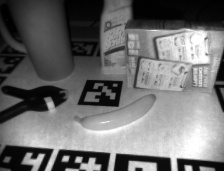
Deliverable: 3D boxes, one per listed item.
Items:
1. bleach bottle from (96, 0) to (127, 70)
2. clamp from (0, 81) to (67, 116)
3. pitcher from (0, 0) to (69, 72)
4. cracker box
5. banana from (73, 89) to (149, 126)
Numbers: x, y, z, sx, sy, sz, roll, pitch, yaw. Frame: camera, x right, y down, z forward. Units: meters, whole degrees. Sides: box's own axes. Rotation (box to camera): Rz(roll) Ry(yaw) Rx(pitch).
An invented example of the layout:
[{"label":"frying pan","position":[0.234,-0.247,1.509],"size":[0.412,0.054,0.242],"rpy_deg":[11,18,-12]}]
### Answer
[{"label":"bleach bottle","position":[-0.007,-0.161,0.591],"size":[0.102,0.252,0.068],"rpy_deg":[2,40,10]},{"label":"clamp","position":[-0.201,0.022,0.556],"size":[0.165,0.037,0.121],"rpy_deg":[-6,38,-5]},{"label":"pitcher","position":[-0.199,-0.159,0.577],"size":[0.189,0.244,0.132],"rpy_deg":[-8,39,-7]},{"label":"cracker box","position":[0.134,-0.084,0.529],"size":[0.212,0.165,0.072],"rpy_deg":[3,38,12]},{"label":"banana","position":[0.012,0.054,0.510],"size":[0.198,0.039,0.073],"rpy_deg":[-19,42,-17]}]
